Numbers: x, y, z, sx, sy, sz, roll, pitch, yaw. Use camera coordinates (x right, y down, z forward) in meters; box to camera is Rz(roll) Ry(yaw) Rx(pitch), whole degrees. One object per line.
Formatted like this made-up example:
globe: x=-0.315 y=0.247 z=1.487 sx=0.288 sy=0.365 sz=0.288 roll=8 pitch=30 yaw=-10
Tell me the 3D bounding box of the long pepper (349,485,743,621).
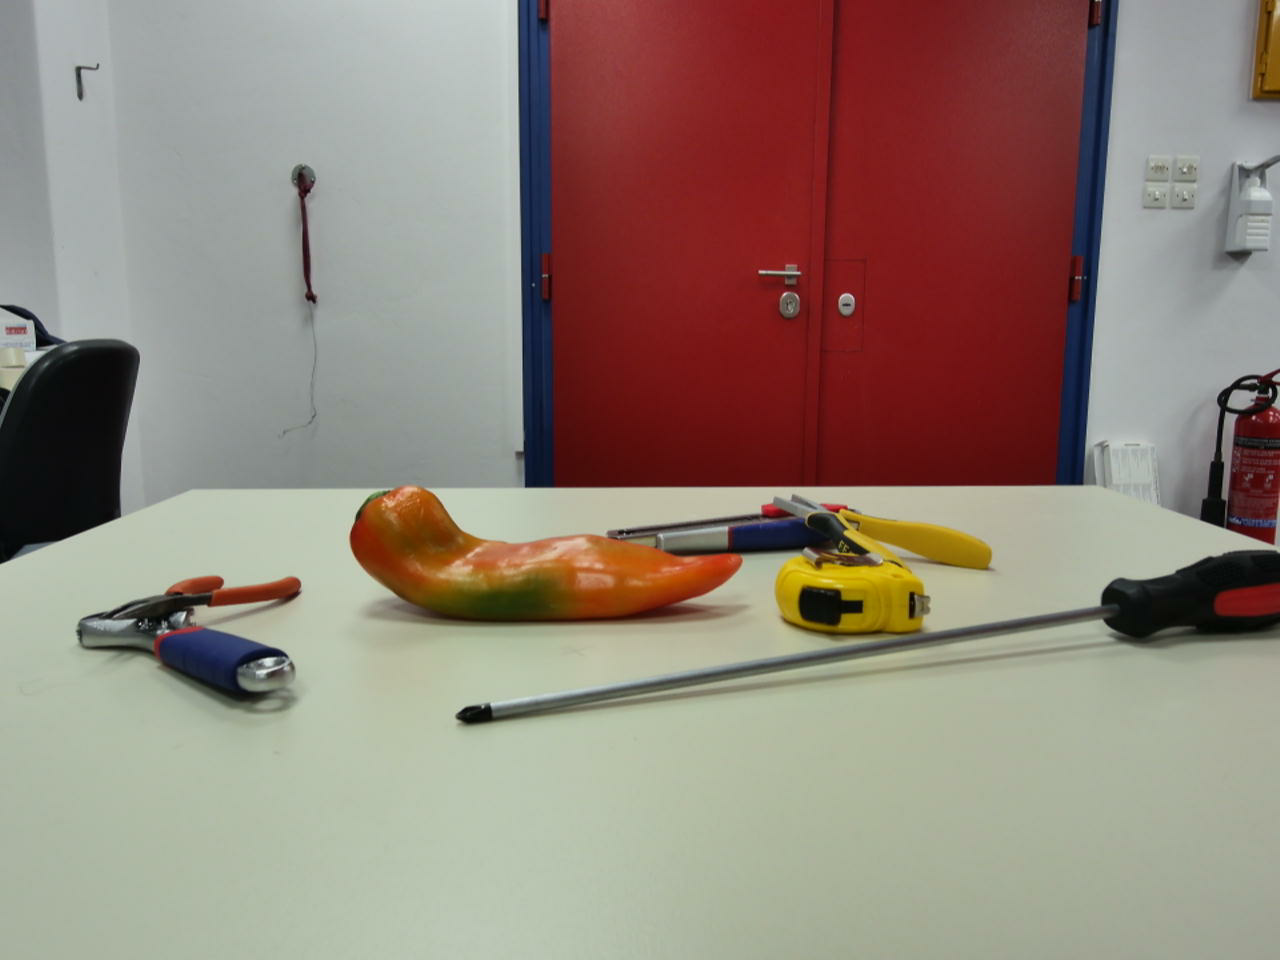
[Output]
long pepper: x=-0.047 y=0.035 z=0.507 sx=0.199 sy=0.065 sz=0.066 roll=0 pitch=6 yaw=4
